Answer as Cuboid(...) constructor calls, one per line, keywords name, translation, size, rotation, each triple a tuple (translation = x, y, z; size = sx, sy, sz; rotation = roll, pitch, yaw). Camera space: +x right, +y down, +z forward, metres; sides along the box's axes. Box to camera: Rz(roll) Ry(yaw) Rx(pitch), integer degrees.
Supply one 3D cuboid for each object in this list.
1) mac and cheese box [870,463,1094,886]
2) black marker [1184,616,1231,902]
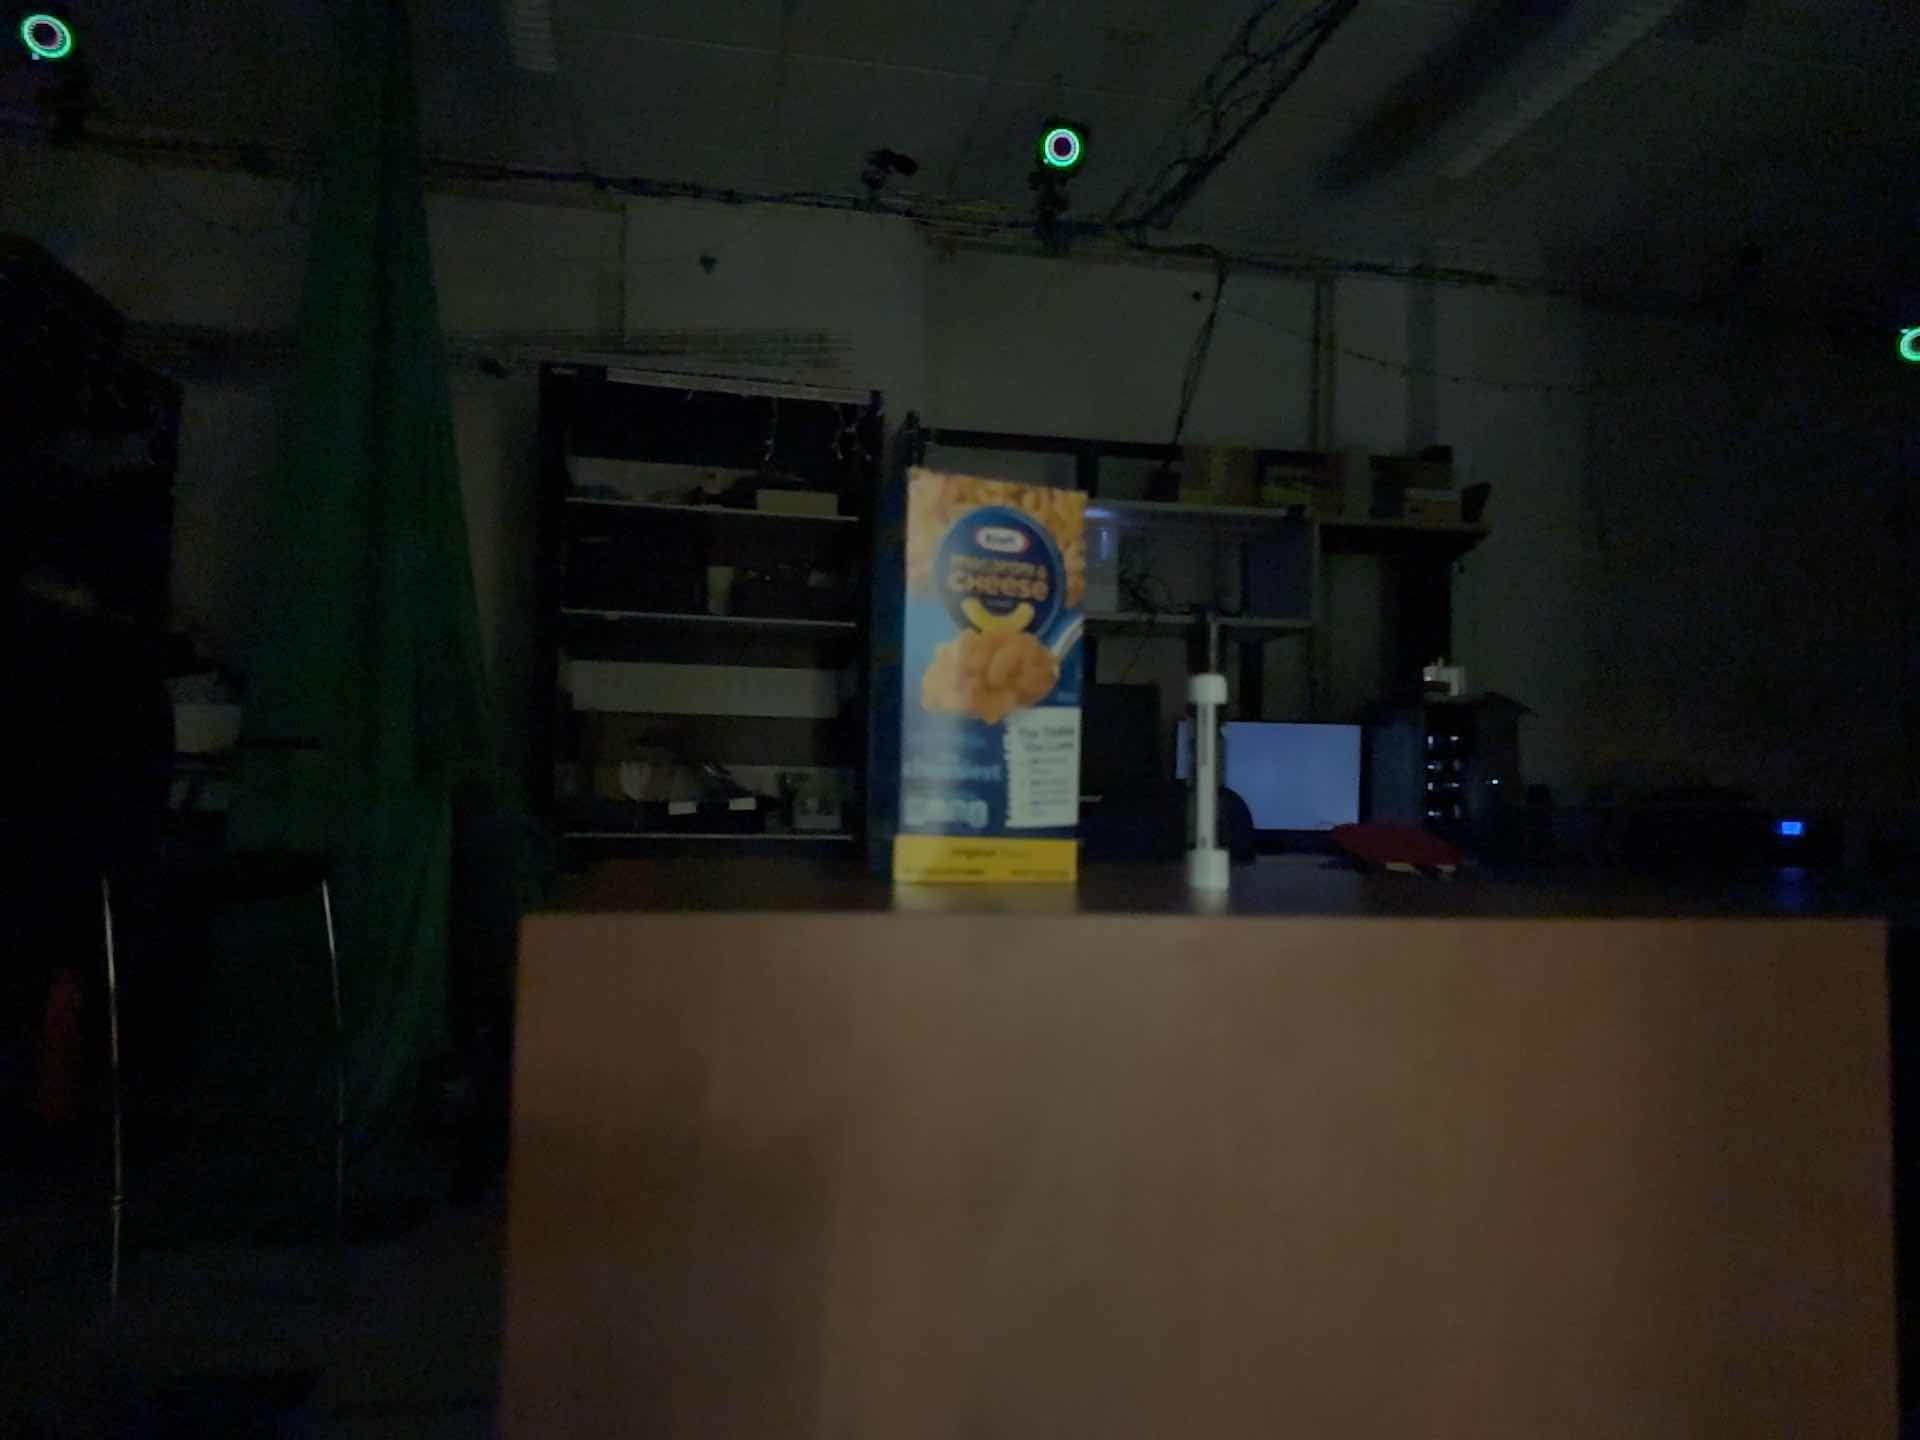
Cuboid(name="mac and cheese box", translation=(0.010, -0.018, 0.609), size=(0.088, 0.181, 0.035), rotation=(2, -3, -17))
Cuboid(name="black marker", translation=(0.106, 0.016, 0.575), size=(0.020, 0.121, 0.020), rotation=(1, -3, 0))
